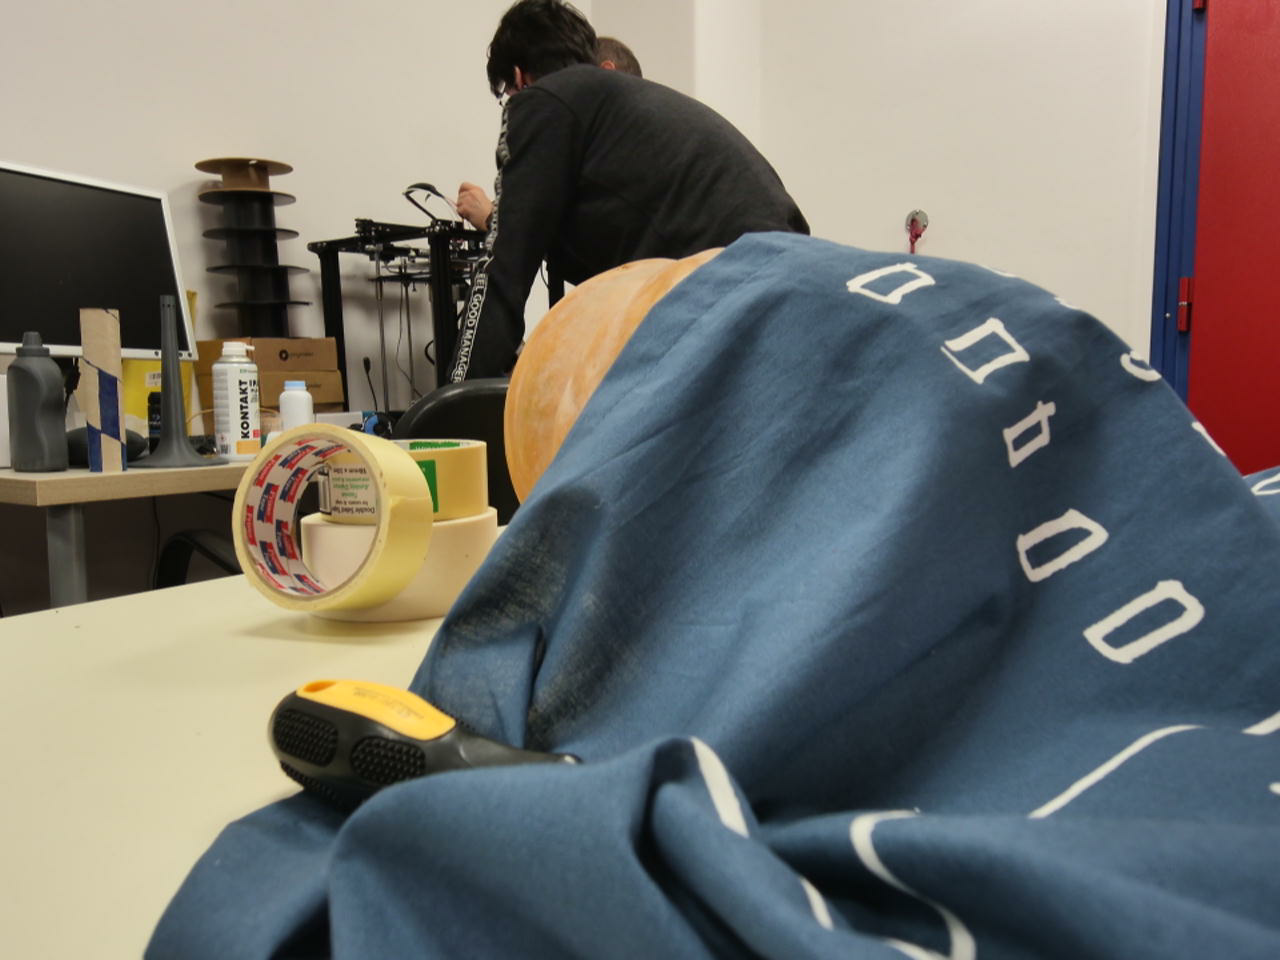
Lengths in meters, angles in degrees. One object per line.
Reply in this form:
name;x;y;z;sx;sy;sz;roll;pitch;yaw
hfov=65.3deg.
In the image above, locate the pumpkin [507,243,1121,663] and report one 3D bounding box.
pumpkin;0.071;-0.016;0.467;0.277;0.181;0.277;0;3;0
